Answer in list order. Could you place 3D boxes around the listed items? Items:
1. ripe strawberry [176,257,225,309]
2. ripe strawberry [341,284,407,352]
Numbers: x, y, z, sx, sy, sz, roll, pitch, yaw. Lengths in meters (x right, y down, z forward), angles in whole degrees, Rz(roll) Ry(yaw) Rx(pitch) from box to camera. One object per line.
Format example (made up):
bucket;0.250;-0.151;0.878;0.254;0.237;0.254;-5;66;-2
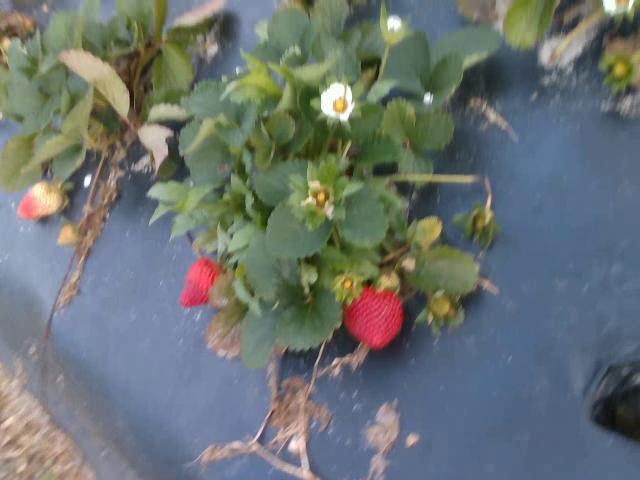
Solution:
ripe strawberry;-0.098;0.039;0.548;0.043;0.051;0.042;41;0;33
ripe strawberry;0.035;0.057;0.456;0.046;0.043;0.046;24;33;-26
